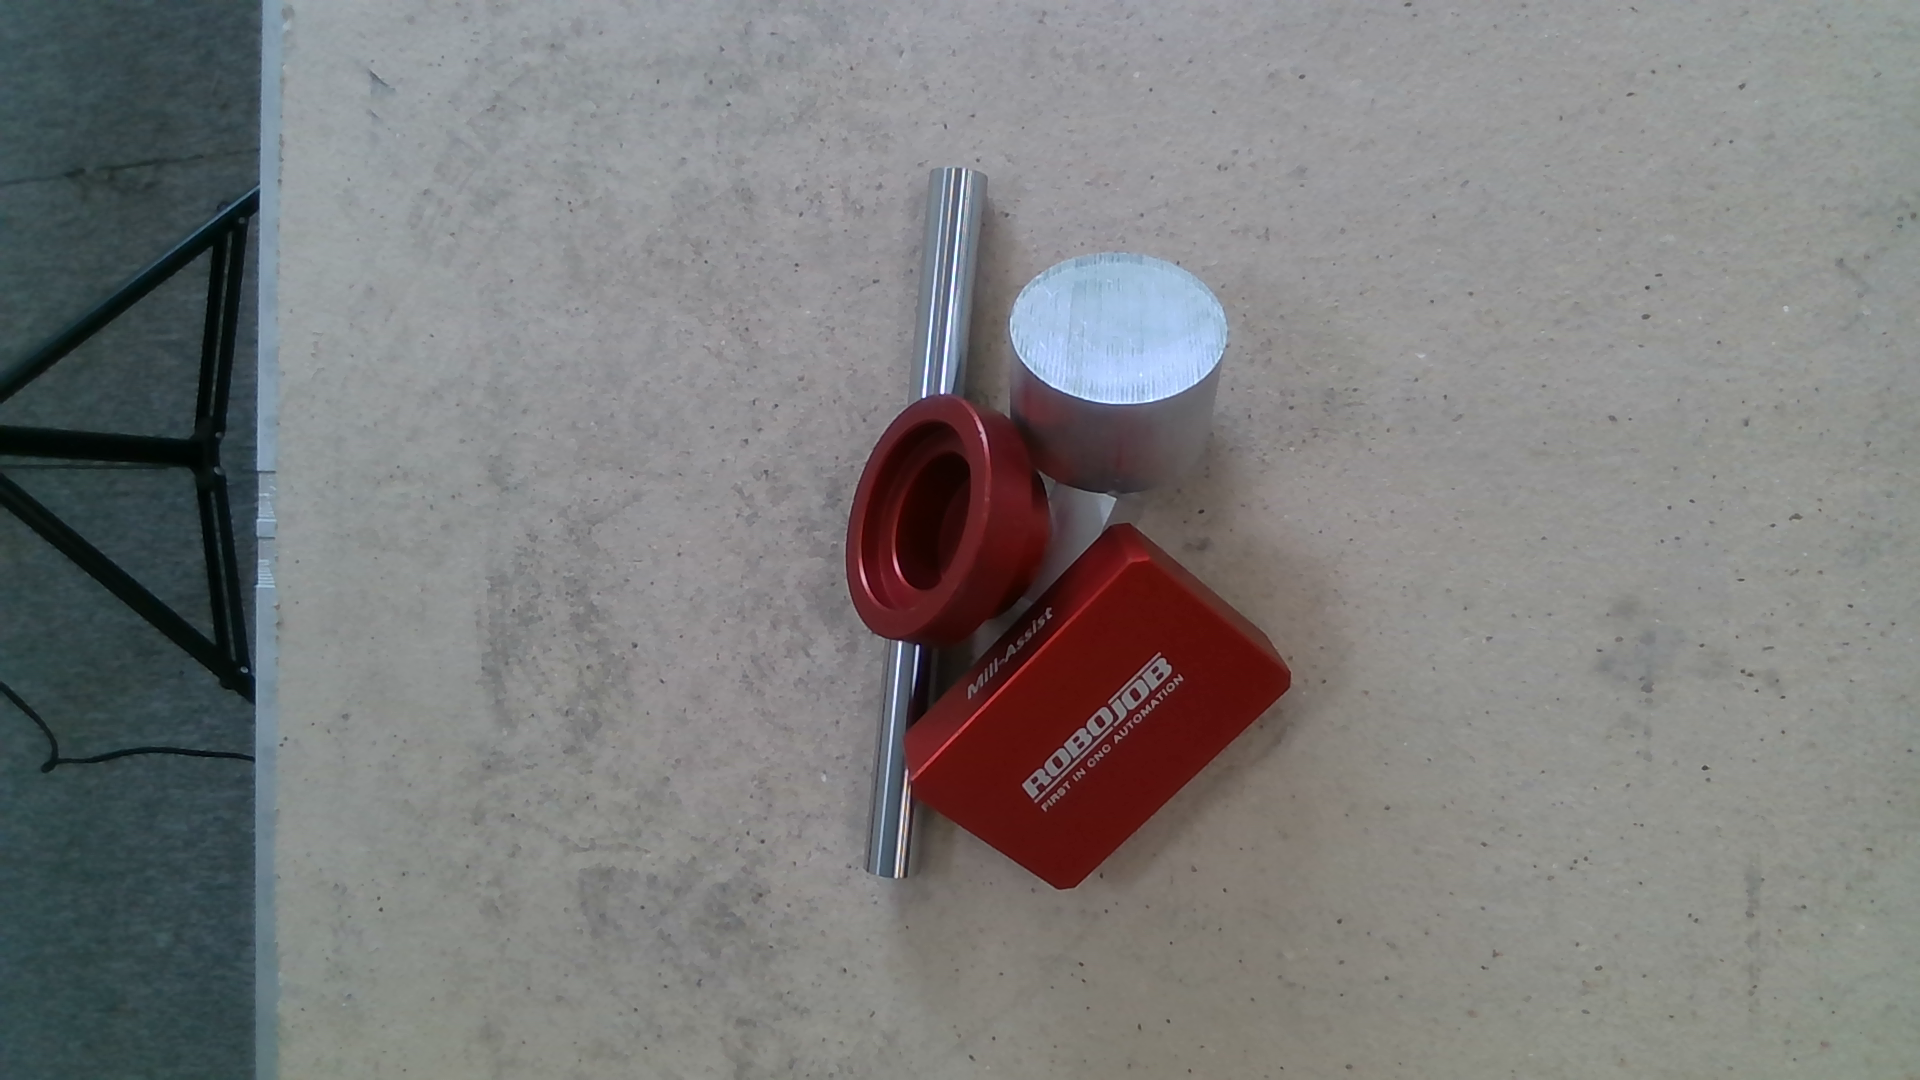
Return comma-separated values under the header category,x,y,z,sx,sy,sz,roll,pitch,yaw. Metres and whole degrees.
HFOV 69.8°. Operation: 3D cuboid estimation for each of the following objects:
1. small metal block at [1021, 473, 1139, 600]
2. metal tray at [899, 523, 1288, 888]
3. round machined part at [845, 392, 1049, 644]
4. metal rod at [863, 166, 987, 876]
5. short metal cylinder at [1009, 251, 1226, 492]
category,x,y,z,sx,sy,sz,roll,pitch,yaw
small metal block,0.047,0.001,0.554,0.025,0.050,0.050,25,99,18
metal tray,0.051,0.067,0.538,0.090,0.030,0.130,37,106,-23
round machined part,-0.002,-0.006,0.545,0.098,0.042,0.098,-25,59,49
metal rod,-0.015,-0.007,0.592,0.025,0.025,0.300,7,93,20
short metal cylinder,0.059,-0.065,0.529,0.080,0.050,0.080,-1,53,1
